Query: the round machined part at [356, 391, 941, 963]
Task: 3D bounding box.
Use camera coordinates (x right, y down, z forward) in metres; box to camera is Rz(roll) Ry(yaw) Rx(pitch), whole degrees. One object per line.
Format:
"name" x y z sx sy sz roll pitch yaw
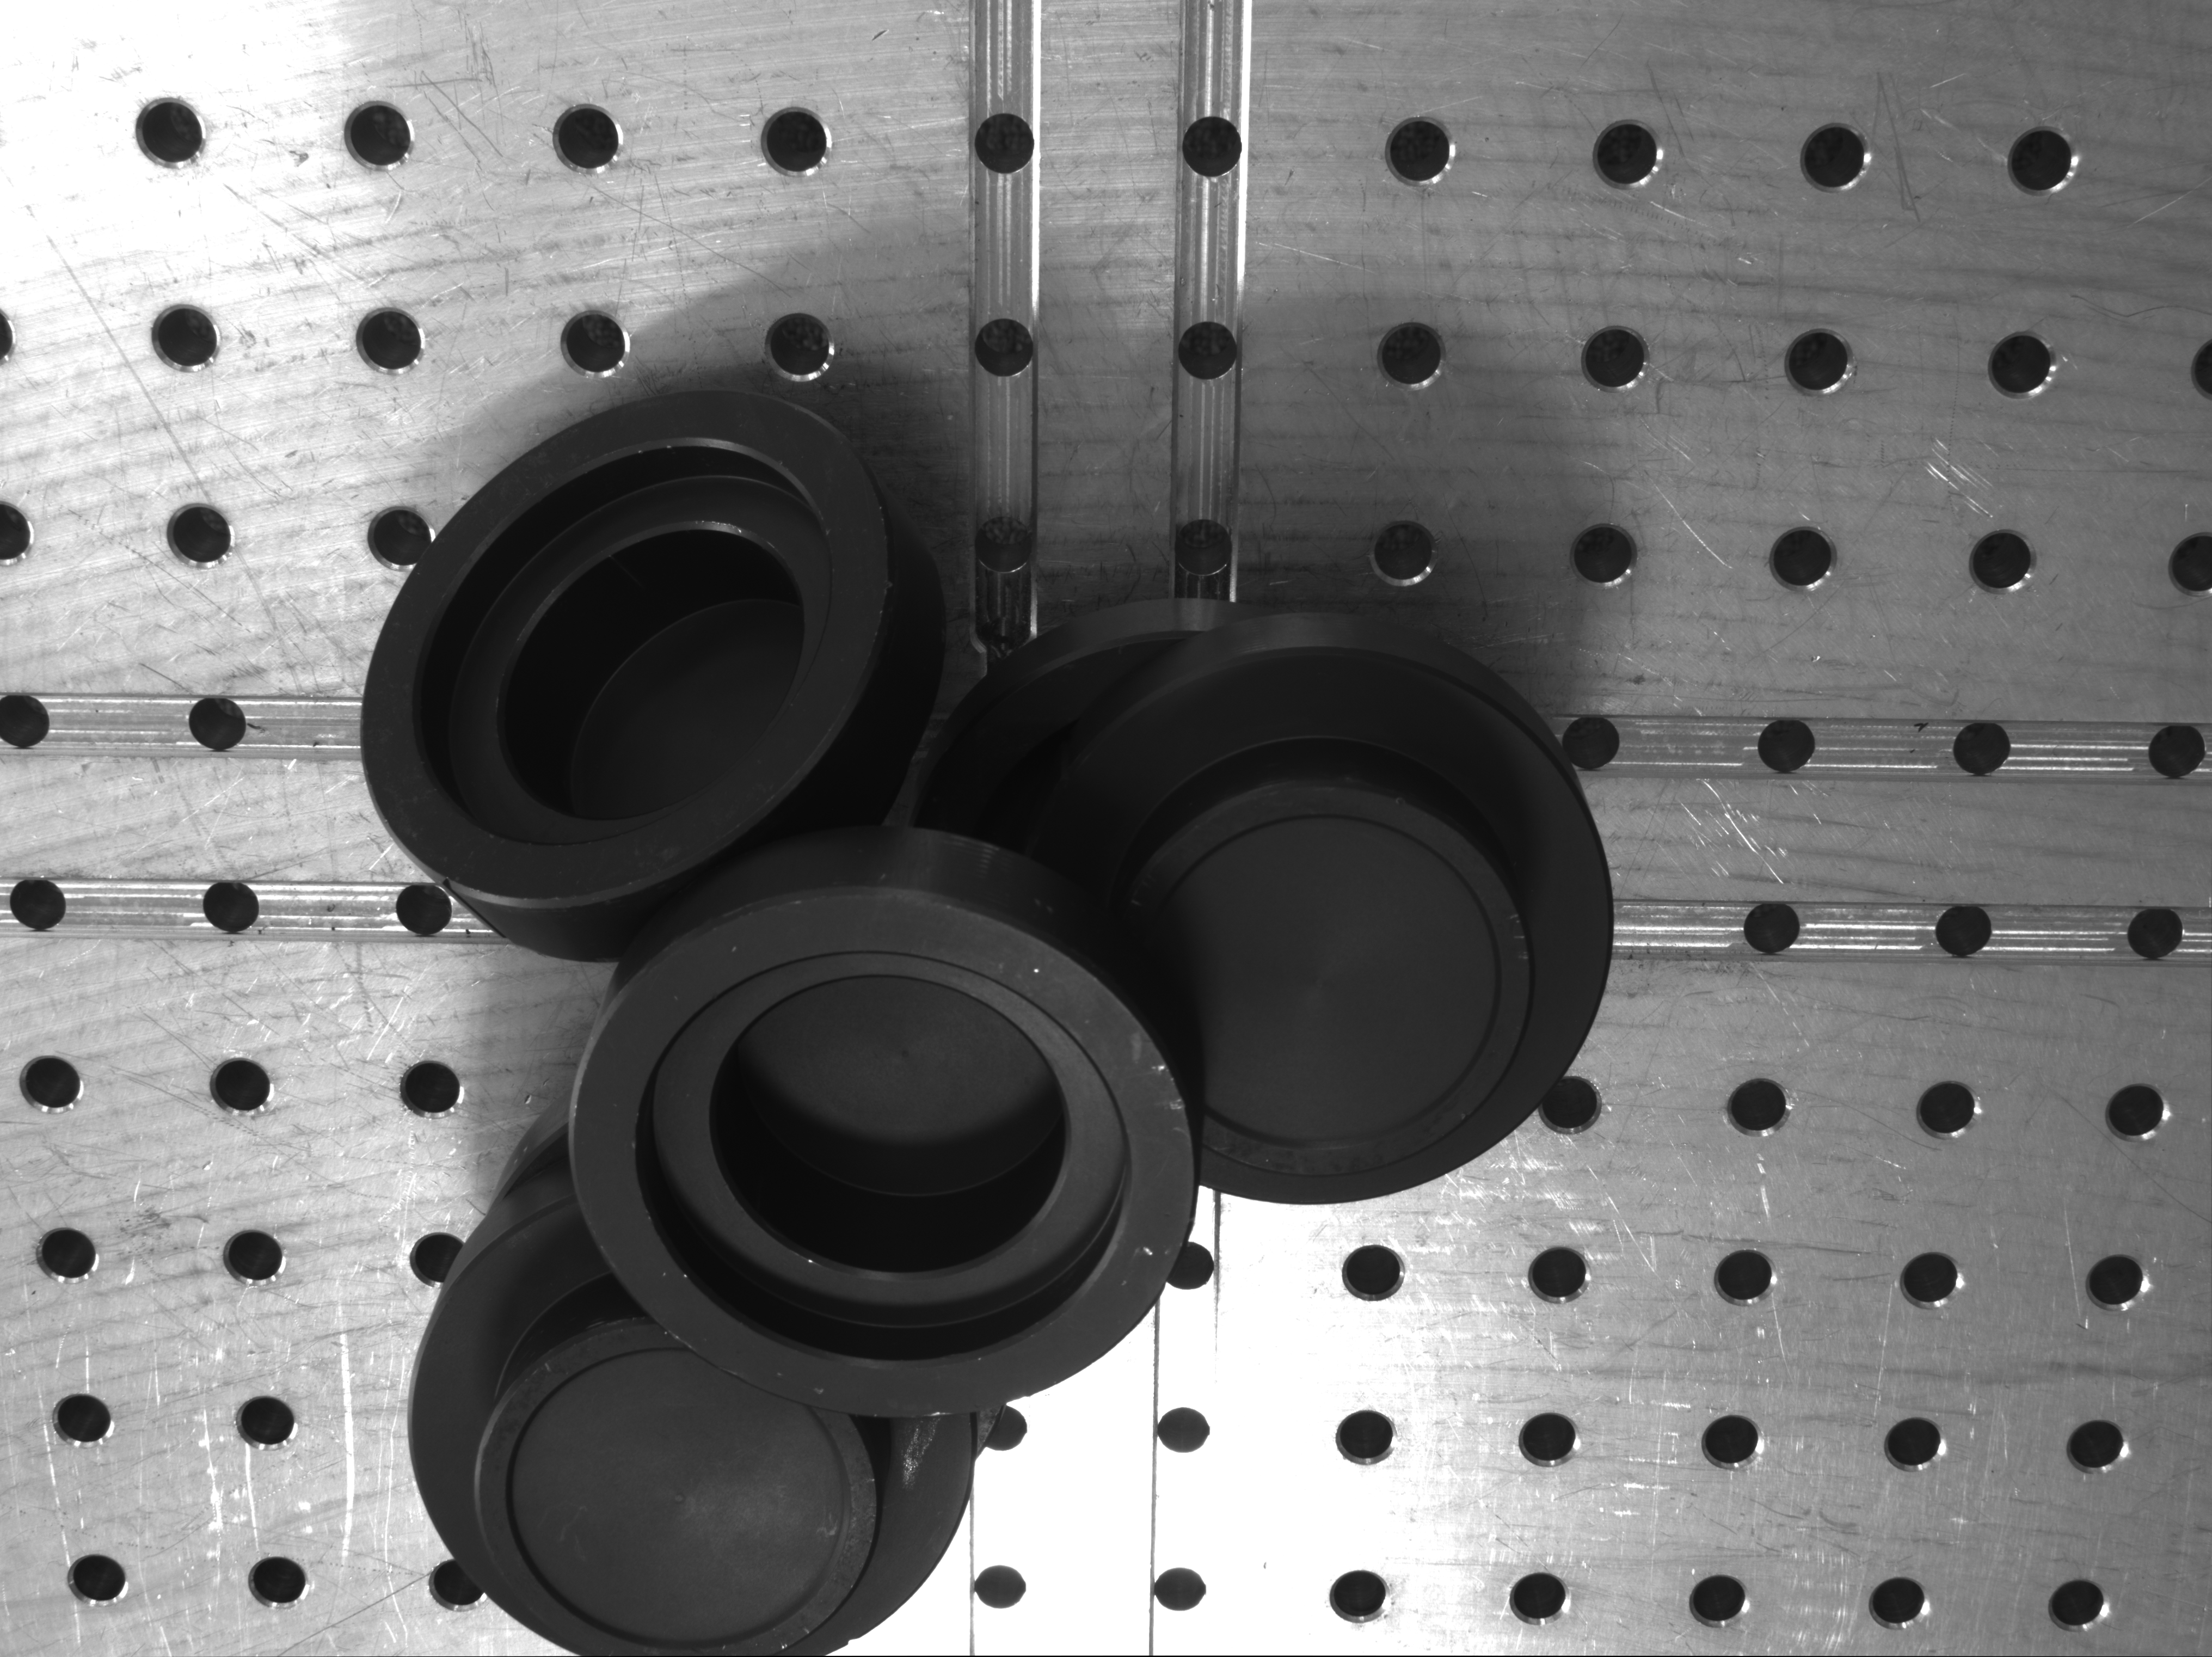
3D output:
"round machined part" -0.071 -0.021 0.610 0.098 0.098 0.042 -26 143 9

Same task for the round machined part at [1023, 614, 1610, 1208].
"round machined part" 0.033 0.018 0.598 0.098 0.042 0.098 0 109 0

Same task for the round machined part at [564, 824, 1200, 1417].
"round machined part" -0.034 0.042 0.585 0.098 0.042 0.098 1 118 3

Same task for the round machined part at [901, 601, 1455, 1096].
"round machined part" 0.012 0.014 0.621 0.098 0.042 0.098 0 110 0

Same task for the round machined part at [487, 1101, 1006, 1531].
"round machined part" -0.064 0.088 0.648 0.098 0.042 0.098 0 110 0

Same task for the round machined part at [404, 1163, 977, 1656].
"round machined part" -0.072 0.105 0.631 0.098 0.042 0.098 0 110 0
